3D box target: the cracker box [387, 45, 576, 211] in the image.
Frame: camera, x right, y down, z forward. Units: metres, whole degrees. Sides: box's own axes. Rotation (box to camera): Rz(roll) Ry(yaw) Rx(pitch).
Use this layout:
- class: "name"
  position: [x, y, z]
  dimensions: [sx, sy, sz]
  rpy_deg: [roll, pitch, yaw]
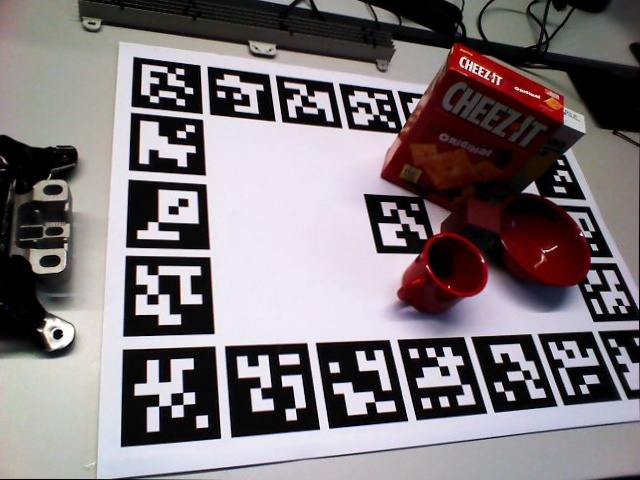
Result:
- class: "cracker box"
  position: [0.216, -0.138, 0.732]
  dimensions: [0.164, 0.215, 0.071]
  rpy_deg: [28, 52, -3]

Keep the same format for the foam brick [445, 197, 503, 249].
- class: "foam brick"
  position: [0.223, -0.014, 0.747]
  dimensions: [0.053, 0.078, 0.051]
  rpy_deg: [15, 55, -10]

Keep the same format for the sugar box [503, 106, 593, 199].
- class: "sugar box"
  position: [0.314, -0.136, 0.787]
  dimensions: [0.093, 0.177, 0.045]
  rpy_deg: [20, 55, -7]

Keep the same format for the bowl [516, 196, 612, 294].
- class: "bowl"
  position: [0.344, 0.016, 0.767]
  dimensions: [0.161, 0.055, 0.161]
  rpy_deg: [9, 58, -15]

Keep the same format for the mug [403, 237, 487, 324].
- class: "mug"
  position: [0.160, 0.058, 0.668]
  dimensions: [0.117, 0.082, 0.093]
  rpy_deg: [-7, 54, -21]
